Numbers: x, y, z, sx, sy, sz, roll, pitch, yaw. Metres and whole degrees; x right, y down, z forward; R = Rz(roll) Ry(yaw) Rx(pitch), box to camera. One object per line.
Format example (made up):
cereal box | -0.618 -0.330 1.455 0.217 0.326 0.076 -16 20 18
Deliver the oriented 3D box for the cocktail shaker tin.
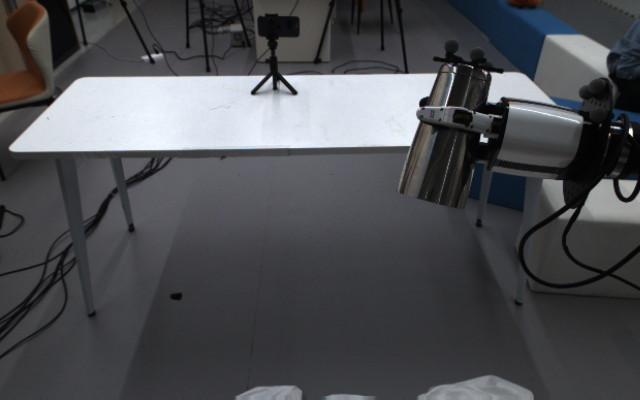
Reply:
cocktail shaker tin | 0.167 -0.082 0.624 0.093 0.170 0.093 14 6 -2
